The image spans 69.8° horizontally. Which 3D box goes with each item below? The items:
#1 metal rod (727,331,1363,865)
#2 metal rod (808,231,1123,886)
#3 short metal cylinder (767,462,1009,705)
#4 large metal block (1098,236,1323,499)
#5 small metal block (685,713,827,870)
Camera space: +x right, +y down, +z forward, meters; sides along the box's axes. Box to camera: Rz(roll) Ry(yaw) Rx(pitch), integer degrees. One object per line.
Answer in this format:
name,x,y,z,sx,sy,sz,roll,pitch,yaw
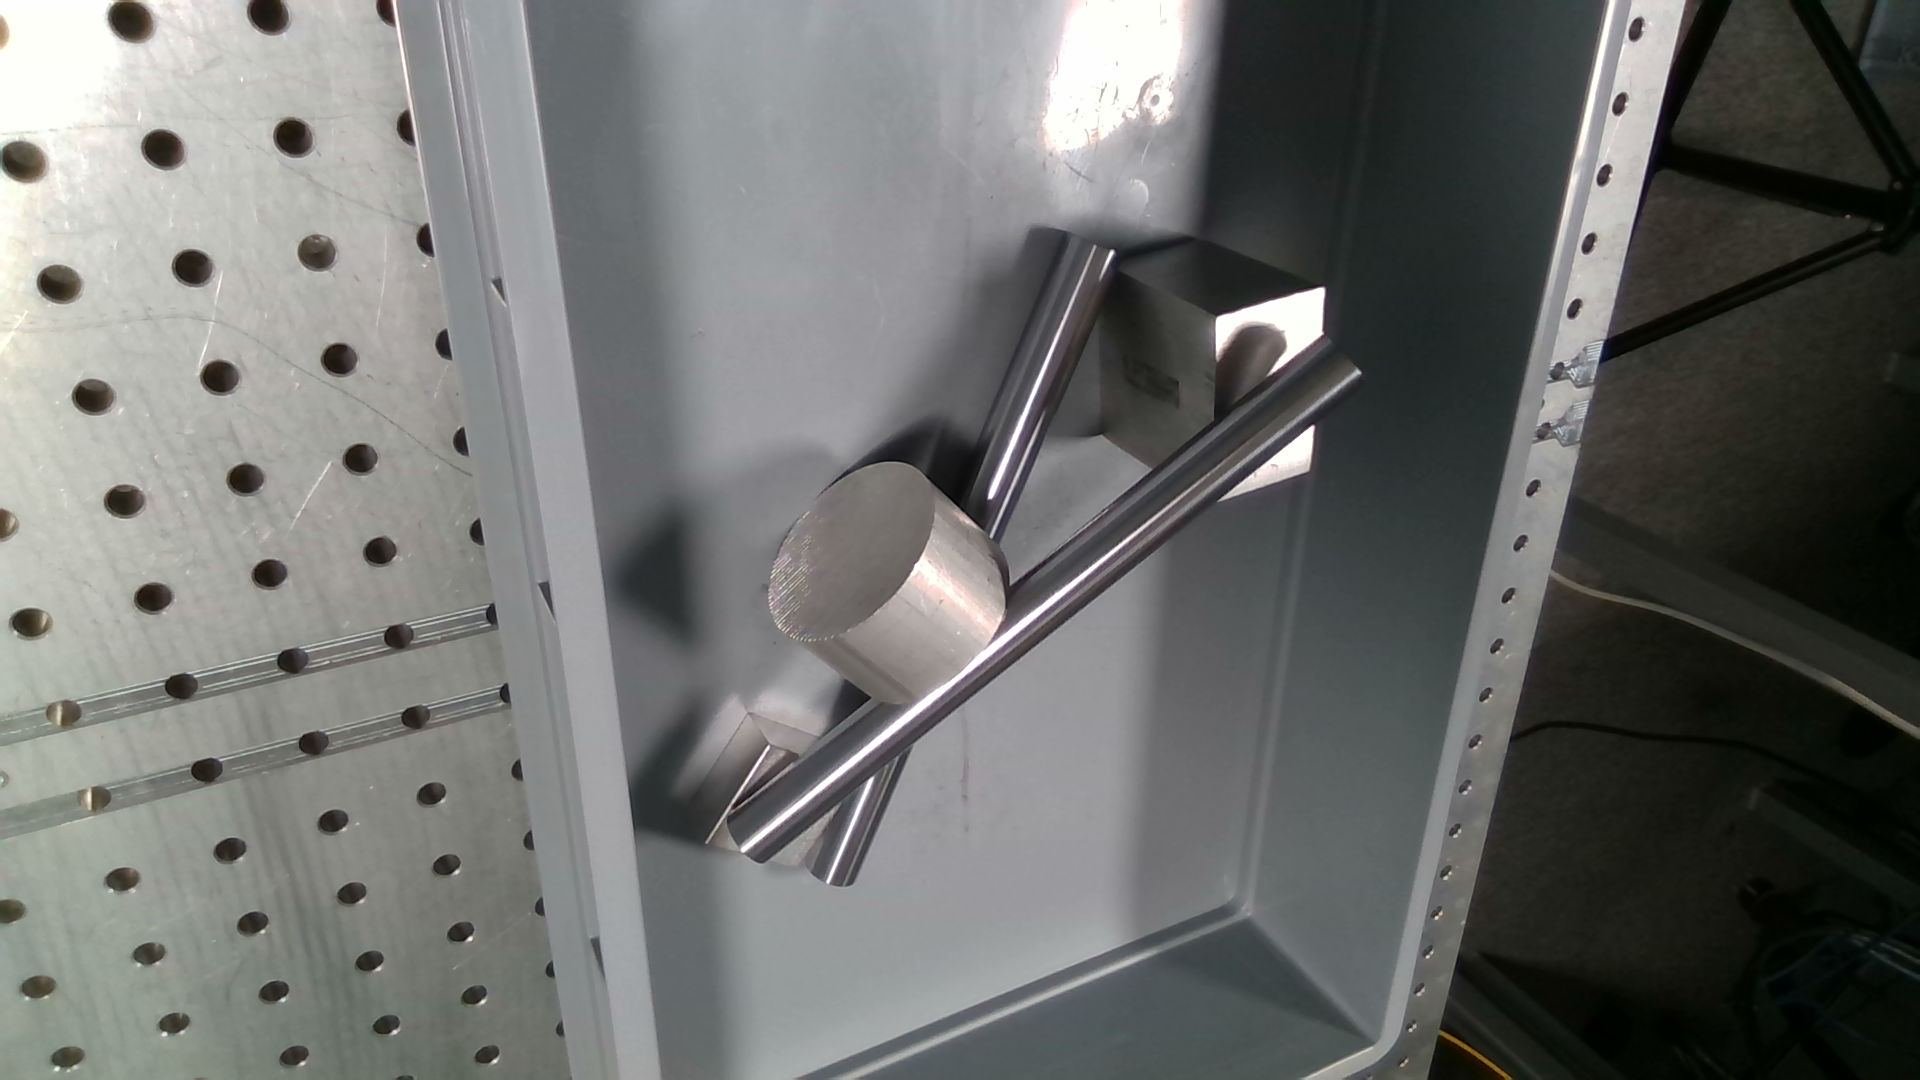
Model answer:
metal rod,0.028,0.027,0.536,0.300,0.025,0.025,-40,130,9
metal rod,-0.003,0.015,0.586,0.025,0.025,0.300,12,108,-35
short metal cylinder,-0.028,0.017,0.535,0.080,0.080,0.050,-48,129,-1
large metal block,0.100,-0.072,0.567,0.050,0.080,0.080,-18,123,-23
small metal block,-0.080,0.108,0.589,0.050,0.025,0.050,28,99,-38
